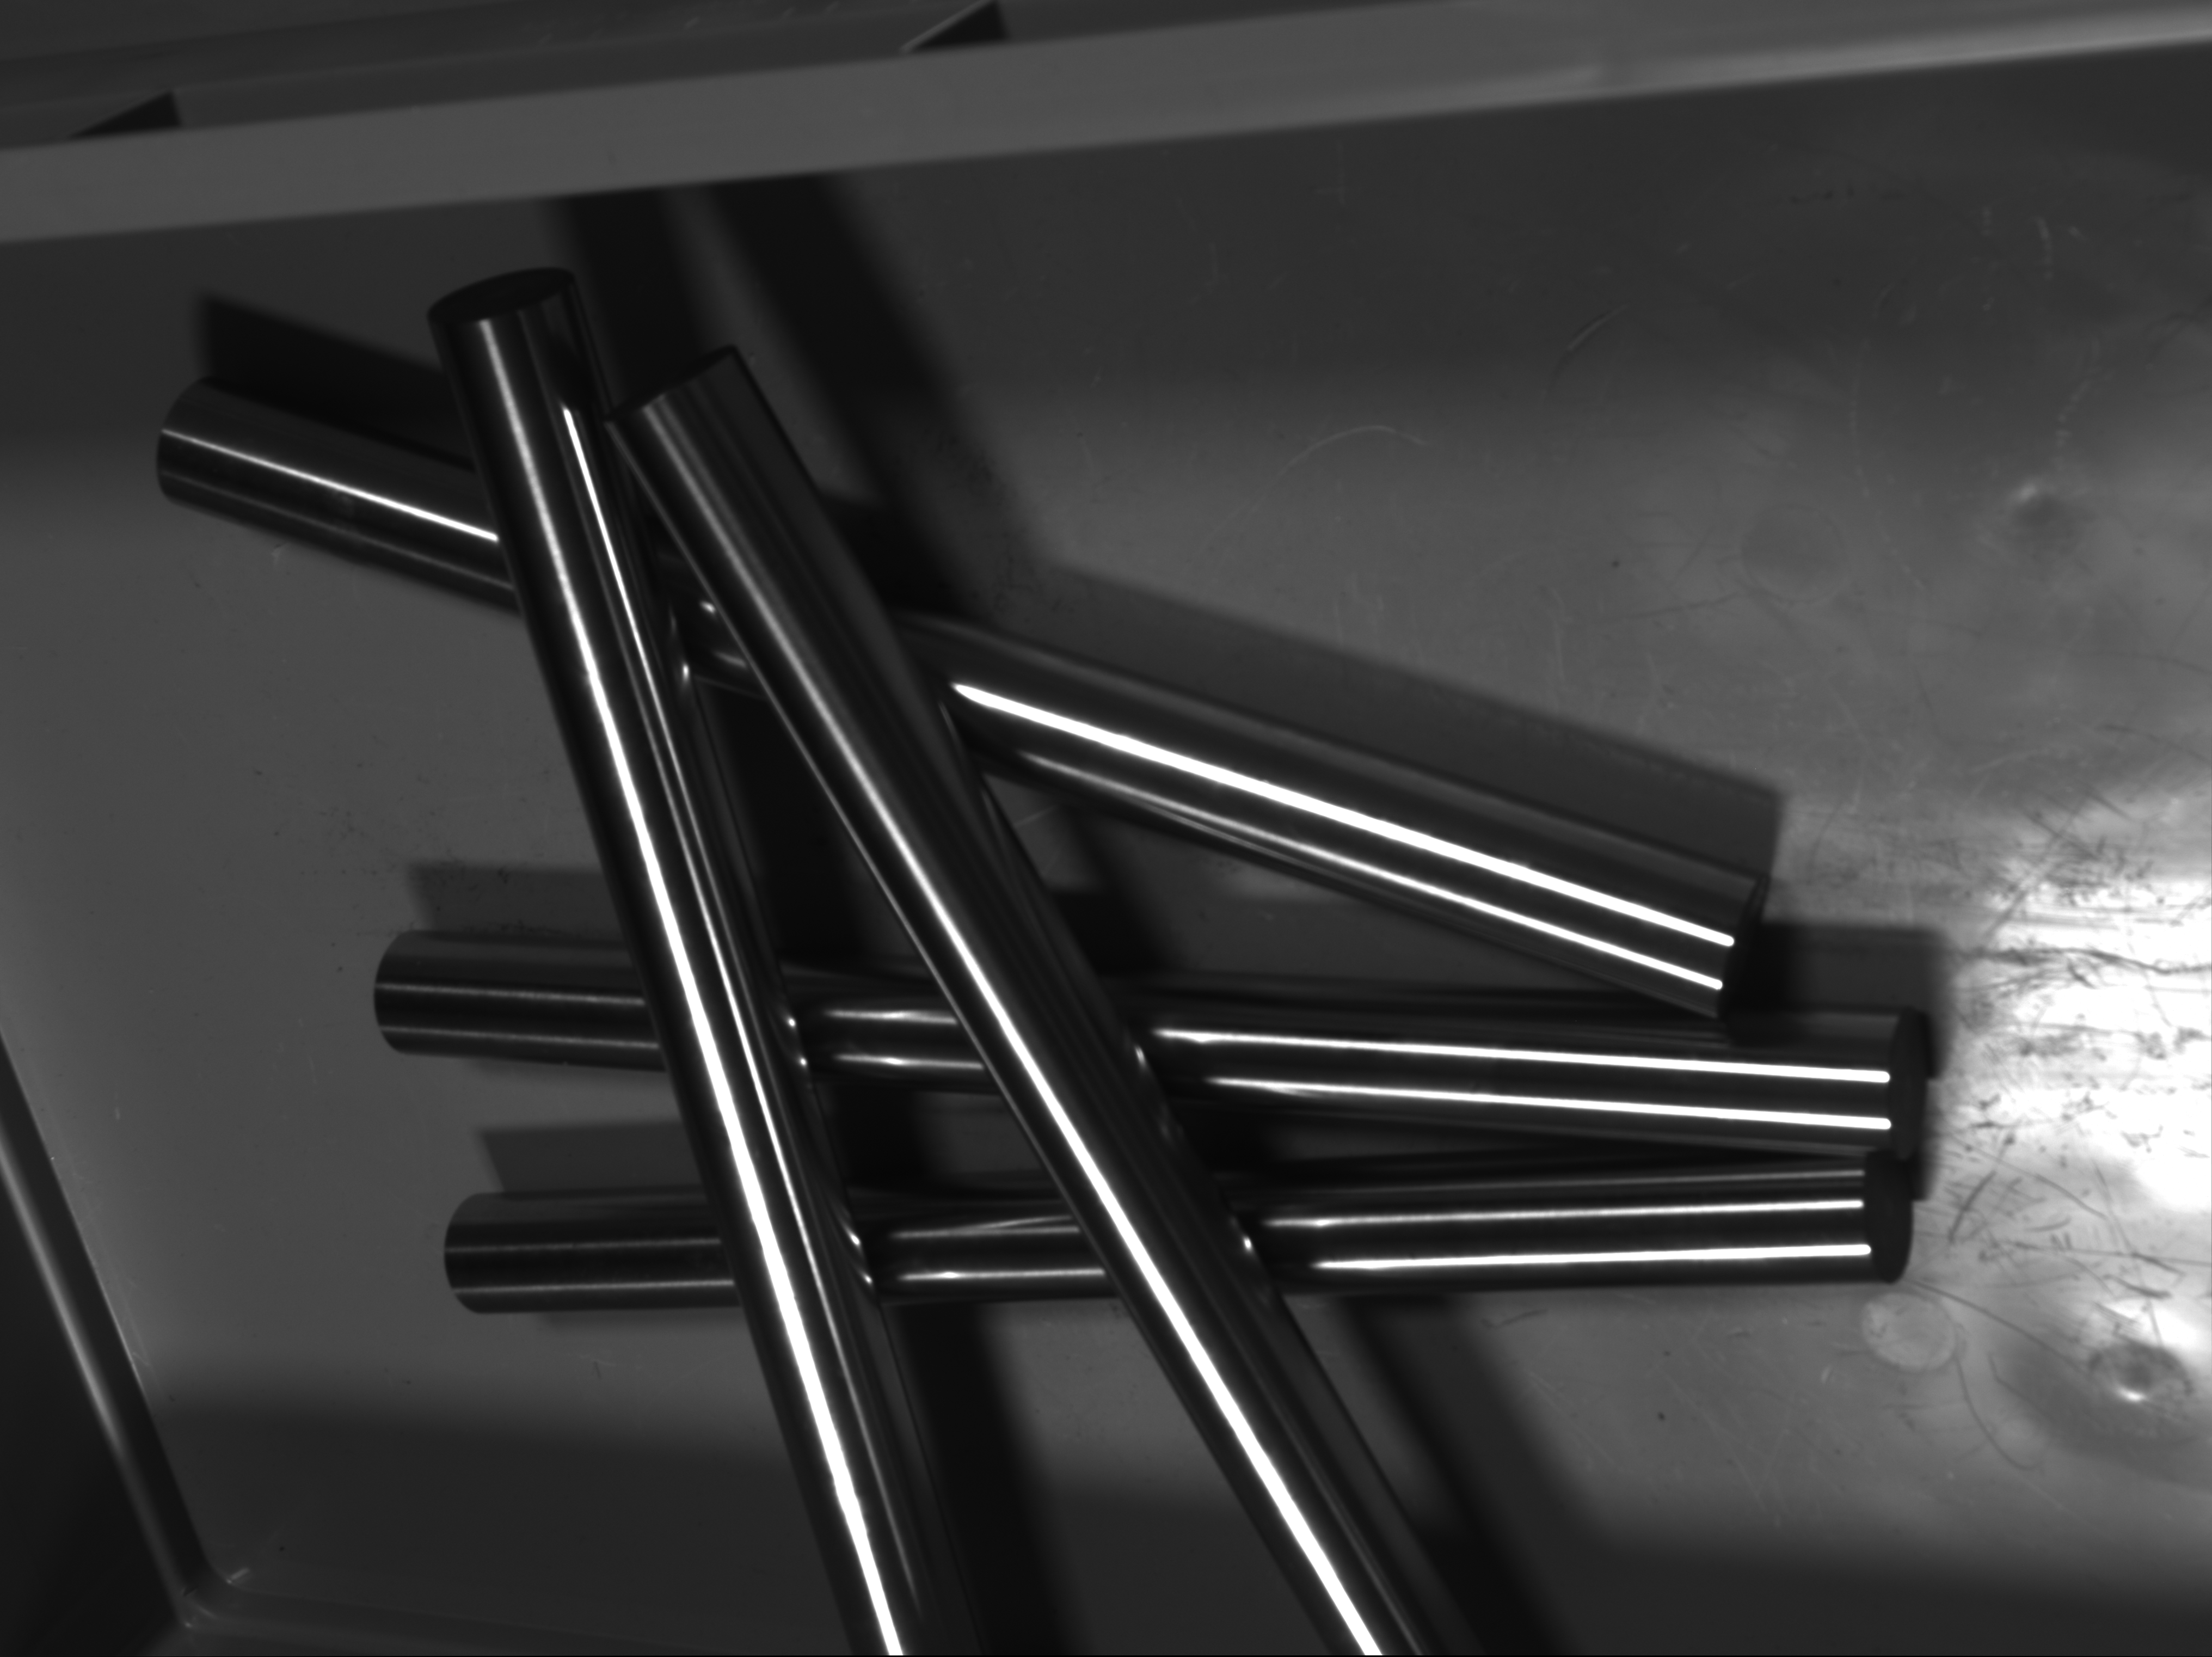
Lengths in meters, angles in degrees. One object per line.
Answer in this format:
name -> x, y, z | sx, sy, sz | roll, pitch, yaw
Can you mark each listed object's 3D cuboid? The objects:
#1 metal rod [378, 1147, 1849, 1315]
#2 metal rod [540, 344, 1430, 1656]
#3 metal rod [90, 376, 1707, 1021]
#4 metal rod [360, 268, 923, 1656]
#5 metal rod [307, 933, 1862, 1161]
metal rod -> -0.011, 0.076, 0.681 | 0.299, 0.025, 0.025 | -5, 116, 29
metal rod -> -0.010, 0.053, 0.635 | 0.025, 0.025, 0.300 | -19, 109, 34
metal rod -> -0.043, -0.026, 0.635 | 0.300, 0.025, 0.025 | 18, 125, 16
metal rod -> -0.078, 0.045, 0.663 | 0.025, 0.025, 0.300 | 0, 118, 27
metal rod -> -0.015, 0.037, 0.659 | 0.299, 0.025, 0.025 | 2, 119, 26
